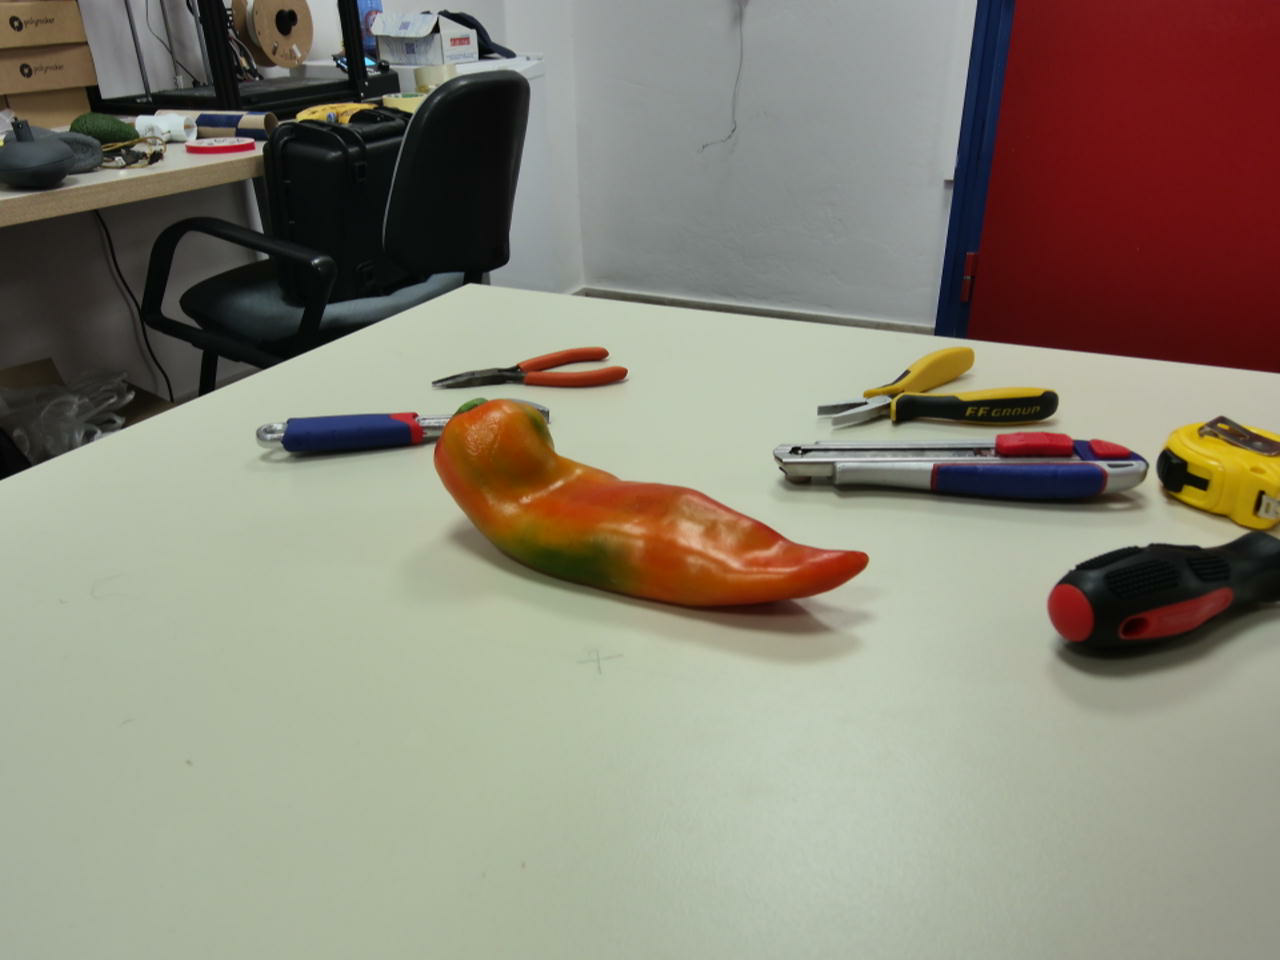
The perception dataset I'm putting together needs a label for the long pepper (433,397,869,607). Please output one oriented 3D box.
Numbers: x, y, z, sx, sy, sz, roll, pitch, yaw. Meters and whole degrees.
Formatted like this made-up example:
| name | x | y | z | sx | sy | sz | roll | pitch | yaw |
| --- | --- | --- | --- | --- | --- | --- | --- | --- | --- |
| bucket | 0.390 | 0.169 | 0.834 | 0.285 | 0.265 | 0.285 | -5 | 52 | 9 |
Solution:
| name | x | y | z | sx | sy | sz | roll | pitch | yaw |
| --- | --- | --- | --- | --- | --- | --- | --- | --- | --- |
| long pepper | -0.002 | 0.009 | 0.422 | 0.199 | 0.065 | 0.066 | 13 | 27 | 29 |
